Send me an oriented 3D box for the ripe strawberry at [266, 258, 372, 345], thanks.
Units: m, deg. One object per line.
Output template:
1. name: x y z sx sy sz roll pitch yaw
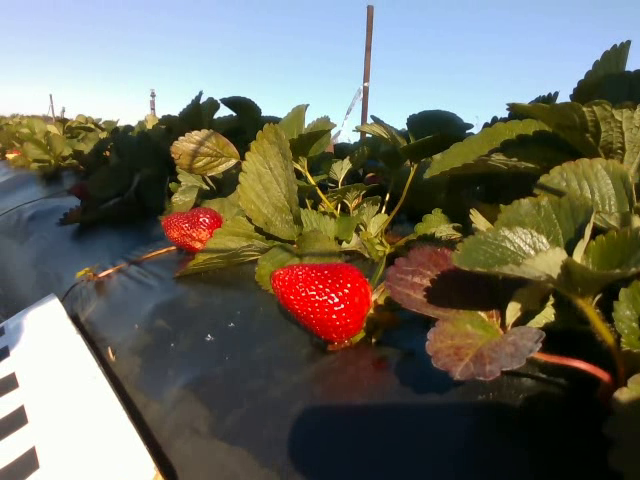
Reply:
1. ripe strawberry: -0.003 0.025 0.270 0.050 0.043 0.043 22 27 -11

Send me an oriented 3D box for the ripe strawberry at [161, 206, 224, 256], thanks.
1. ripe strawberry: -0.095 -0.008 0.452 0.053 0.043 0.041 13 13 -26
